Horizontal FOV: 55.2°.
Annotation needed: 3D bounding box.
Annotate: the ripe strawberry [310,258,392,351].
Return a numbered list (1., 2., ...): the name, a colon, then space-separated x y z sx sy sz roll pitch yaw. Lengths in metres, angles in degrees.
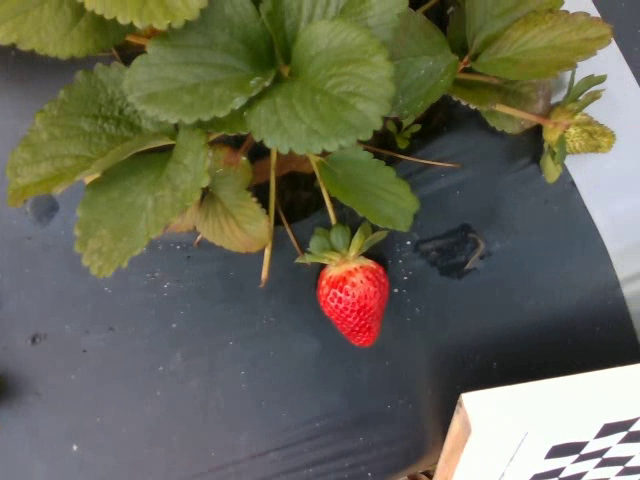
1. ripe strawberry: 0.016 0.026 0.264 0.036 0.046 0.040 -7 6 15
